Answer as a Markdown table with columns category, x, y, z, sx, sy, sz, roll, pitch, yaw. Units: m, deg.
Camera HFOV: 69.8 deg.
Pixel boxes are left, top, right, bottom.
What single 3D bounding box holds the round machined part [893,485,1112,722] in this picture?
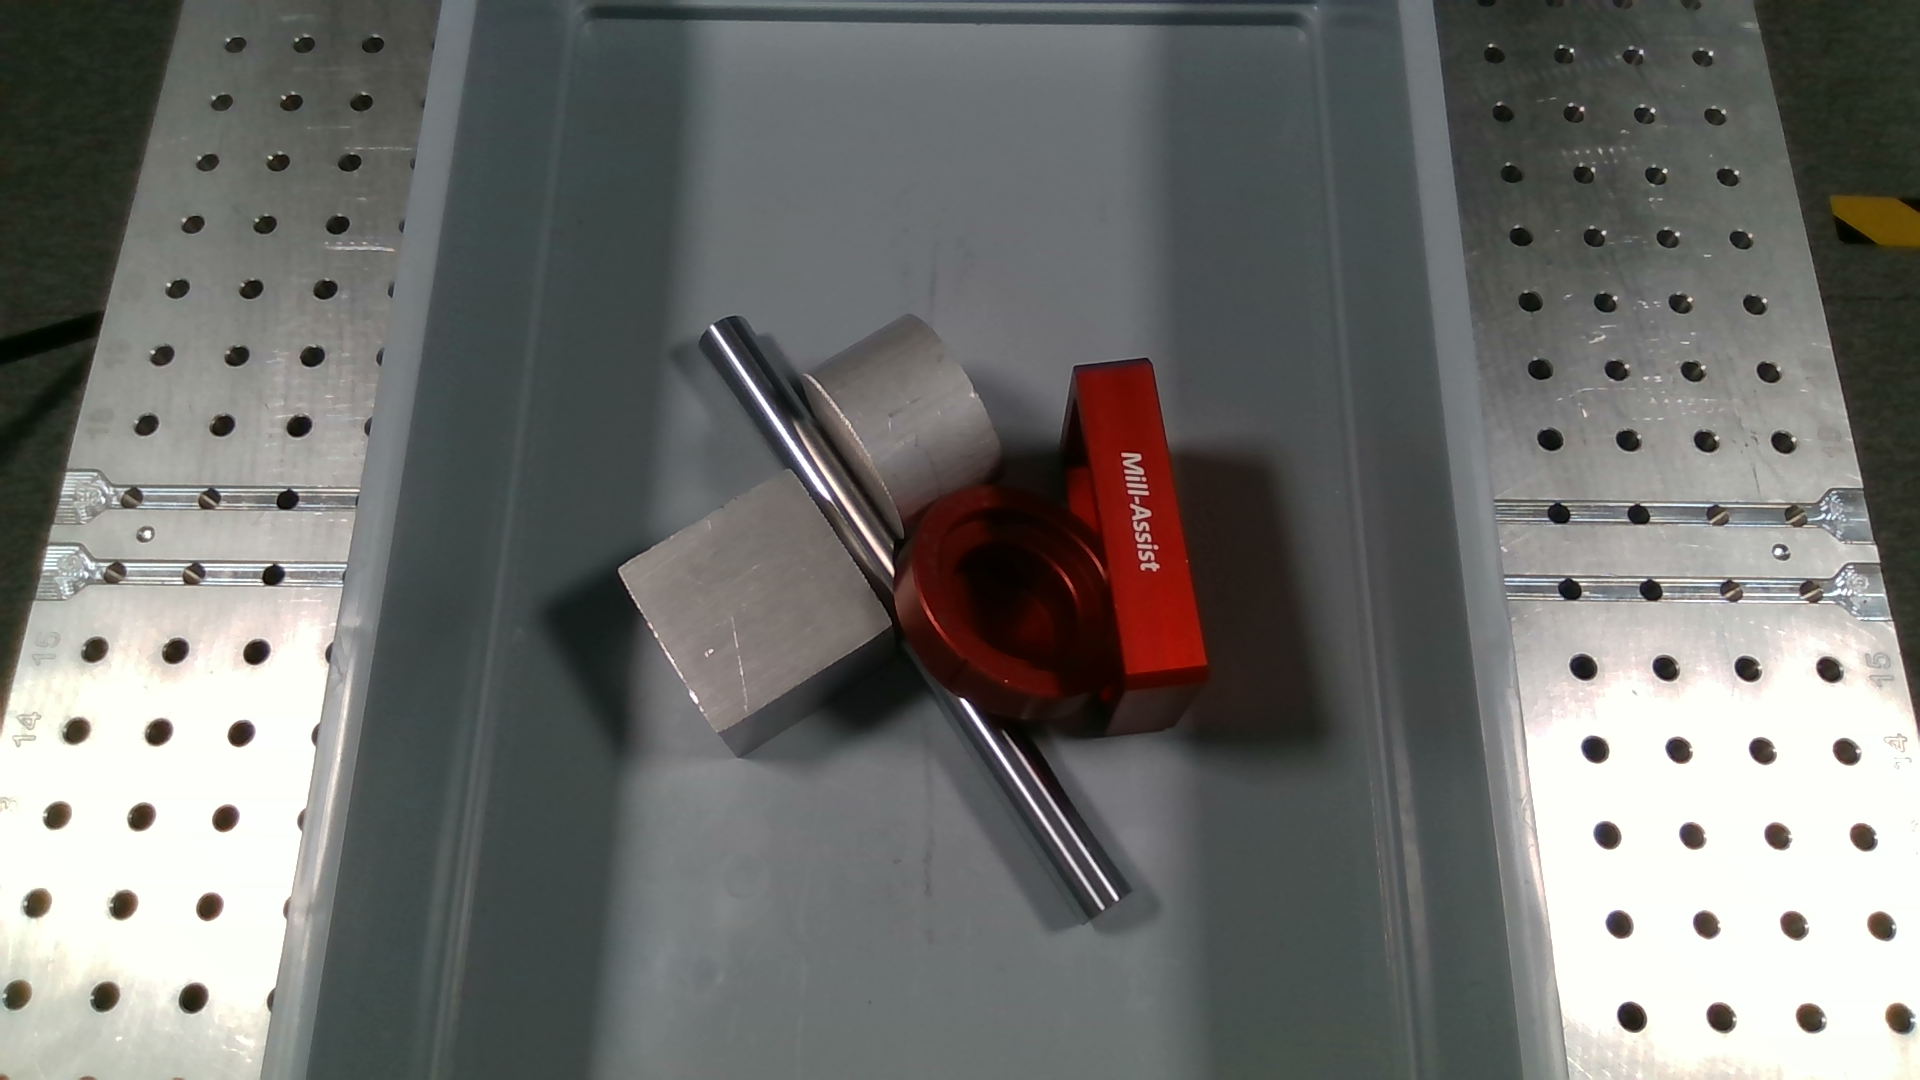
| category | x | y | z | sx | sy | sz | roll | pitch | yaw |
| --- | --- | --- | --- | --- | --- | --- | --- | --- | --- |
| round machined part | 0.018 | 0.029 | 0.553 | 0.098 | 0.042 | 0.098 | 15 | 51 | -19 |

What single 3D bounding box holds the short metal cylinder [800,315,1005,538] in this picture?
| category | x | y | z | sx | sy | sz | roll | pitch | yaw |
| --- | --- | --- | --- | --- | --- | --- | --- | --- | --- |
| short metal cylinder | -0.024 | -0.047 | 0.575 | 0.050 | 0.080 | 0.080 | -32 | 73 | -11 |

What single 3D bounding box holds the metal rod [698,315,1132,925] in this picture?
| category | x | y | z | sx | sy | sz | roll | pitch | yaw |
| --- | --- | --- | --- | --- | --- | --- | --- | --- | --- |
| metal rod | -0.025 | 0.025 | 0.578 | 0.025 | 0.025 | 0.299 | -32 | 73 | -11 |

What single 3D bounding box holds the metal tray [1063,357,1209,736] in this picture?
| category | x | y | z | sx | sy | sz | roll | pitch | yaw |
| --- | --- | --- | --- | --- | --- | --- | --- | --- | --- |
| metal tray | 0.066 | 0.005 | 0.550 | 0.030 | 0.090 | 0.130 | -6 | 71 | -2 |

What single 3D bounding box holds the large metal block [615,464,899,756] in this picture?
| category | x | y | z | sx | sy | sz | roll | pitch | yaw |
| --- | --- | --- | --- | --- | --- | --- | --- | --- | --- |
| large metal block | -0.080 | 0.030 | 0.561 | 0.080 | 0.050 | 0.080 | -32 | 73 | -11 |
